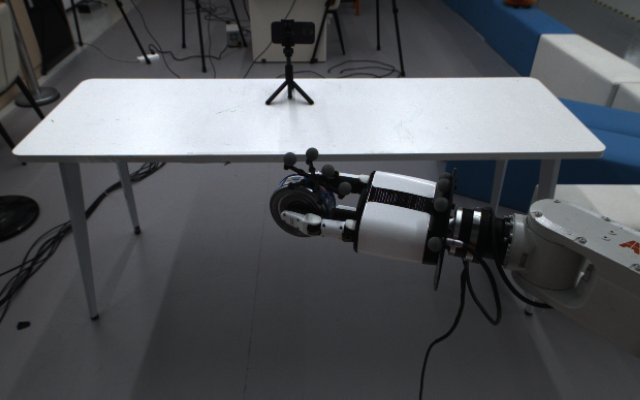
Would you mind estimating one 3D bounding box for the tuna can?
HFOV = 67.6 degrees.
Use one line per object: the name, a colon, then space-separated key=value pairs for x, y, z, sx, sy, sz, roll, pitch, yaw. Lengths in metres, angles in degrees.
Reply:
tuna can: x=-0.023 y=0.007 z=0.655 sx=0.085 sy=0.085 sz=0.034 roll=12 pitch=35 yaw=14
